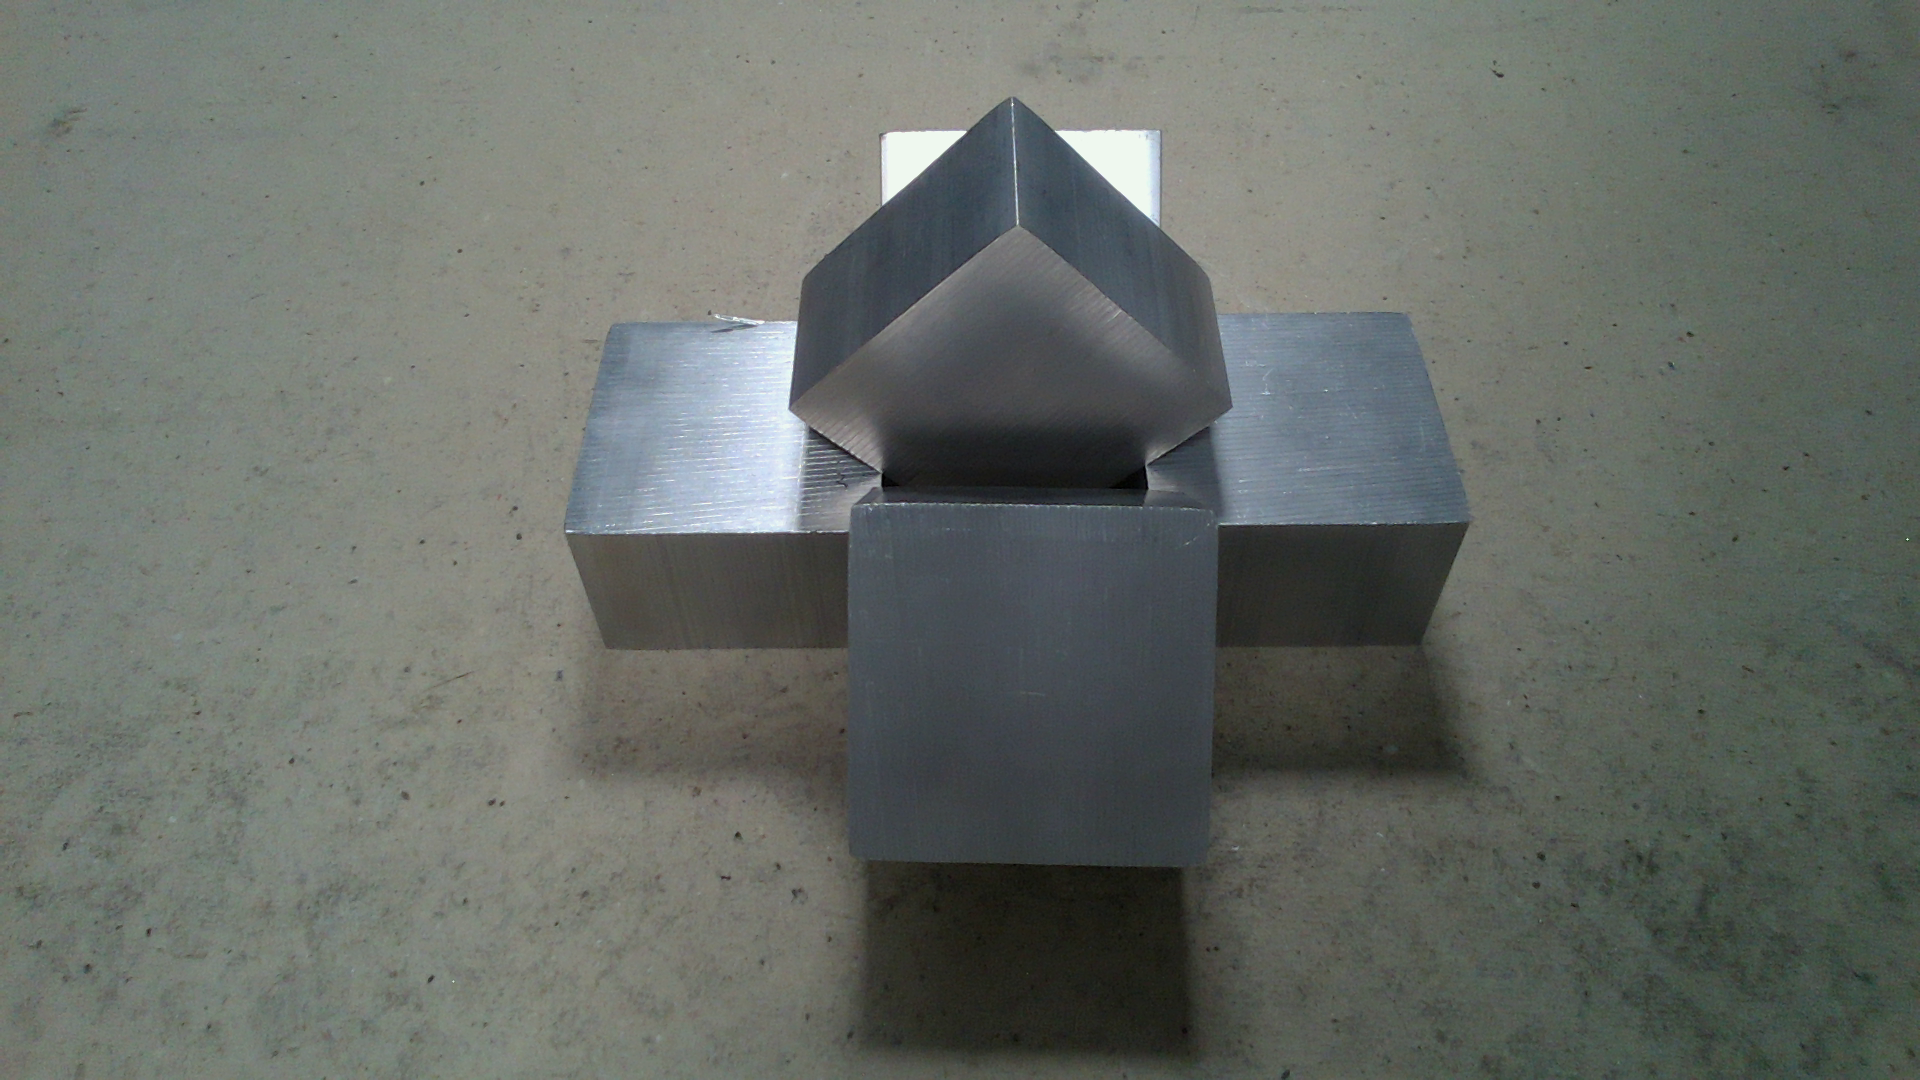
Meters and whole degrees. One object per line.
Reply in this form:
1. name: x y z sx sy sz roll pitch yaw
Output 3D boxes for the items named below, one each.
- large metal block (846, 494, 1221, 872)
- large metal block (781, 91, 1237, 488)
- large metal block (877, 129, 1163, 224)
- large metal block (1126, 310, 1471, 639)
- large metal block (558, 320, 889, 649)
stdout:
1. large metal block: 0.016 0.030 0.323 0.080 0.080 0.050 0 7 2
2. large metal block: 0.012 -0.052 0.357 0.080 0.080 0.050 -33 40 32
3. large metal block: 0.017 -0.092 0.426 0.080 0.080 0.050 -1 94 0
4. large metal block: 0.088 -0.019 0.388 0.080 0.050 0.080 0 50 0
5. large metal block: -0.061 -0.017 0.389 0.080 0.050 0.080 0 50 0
